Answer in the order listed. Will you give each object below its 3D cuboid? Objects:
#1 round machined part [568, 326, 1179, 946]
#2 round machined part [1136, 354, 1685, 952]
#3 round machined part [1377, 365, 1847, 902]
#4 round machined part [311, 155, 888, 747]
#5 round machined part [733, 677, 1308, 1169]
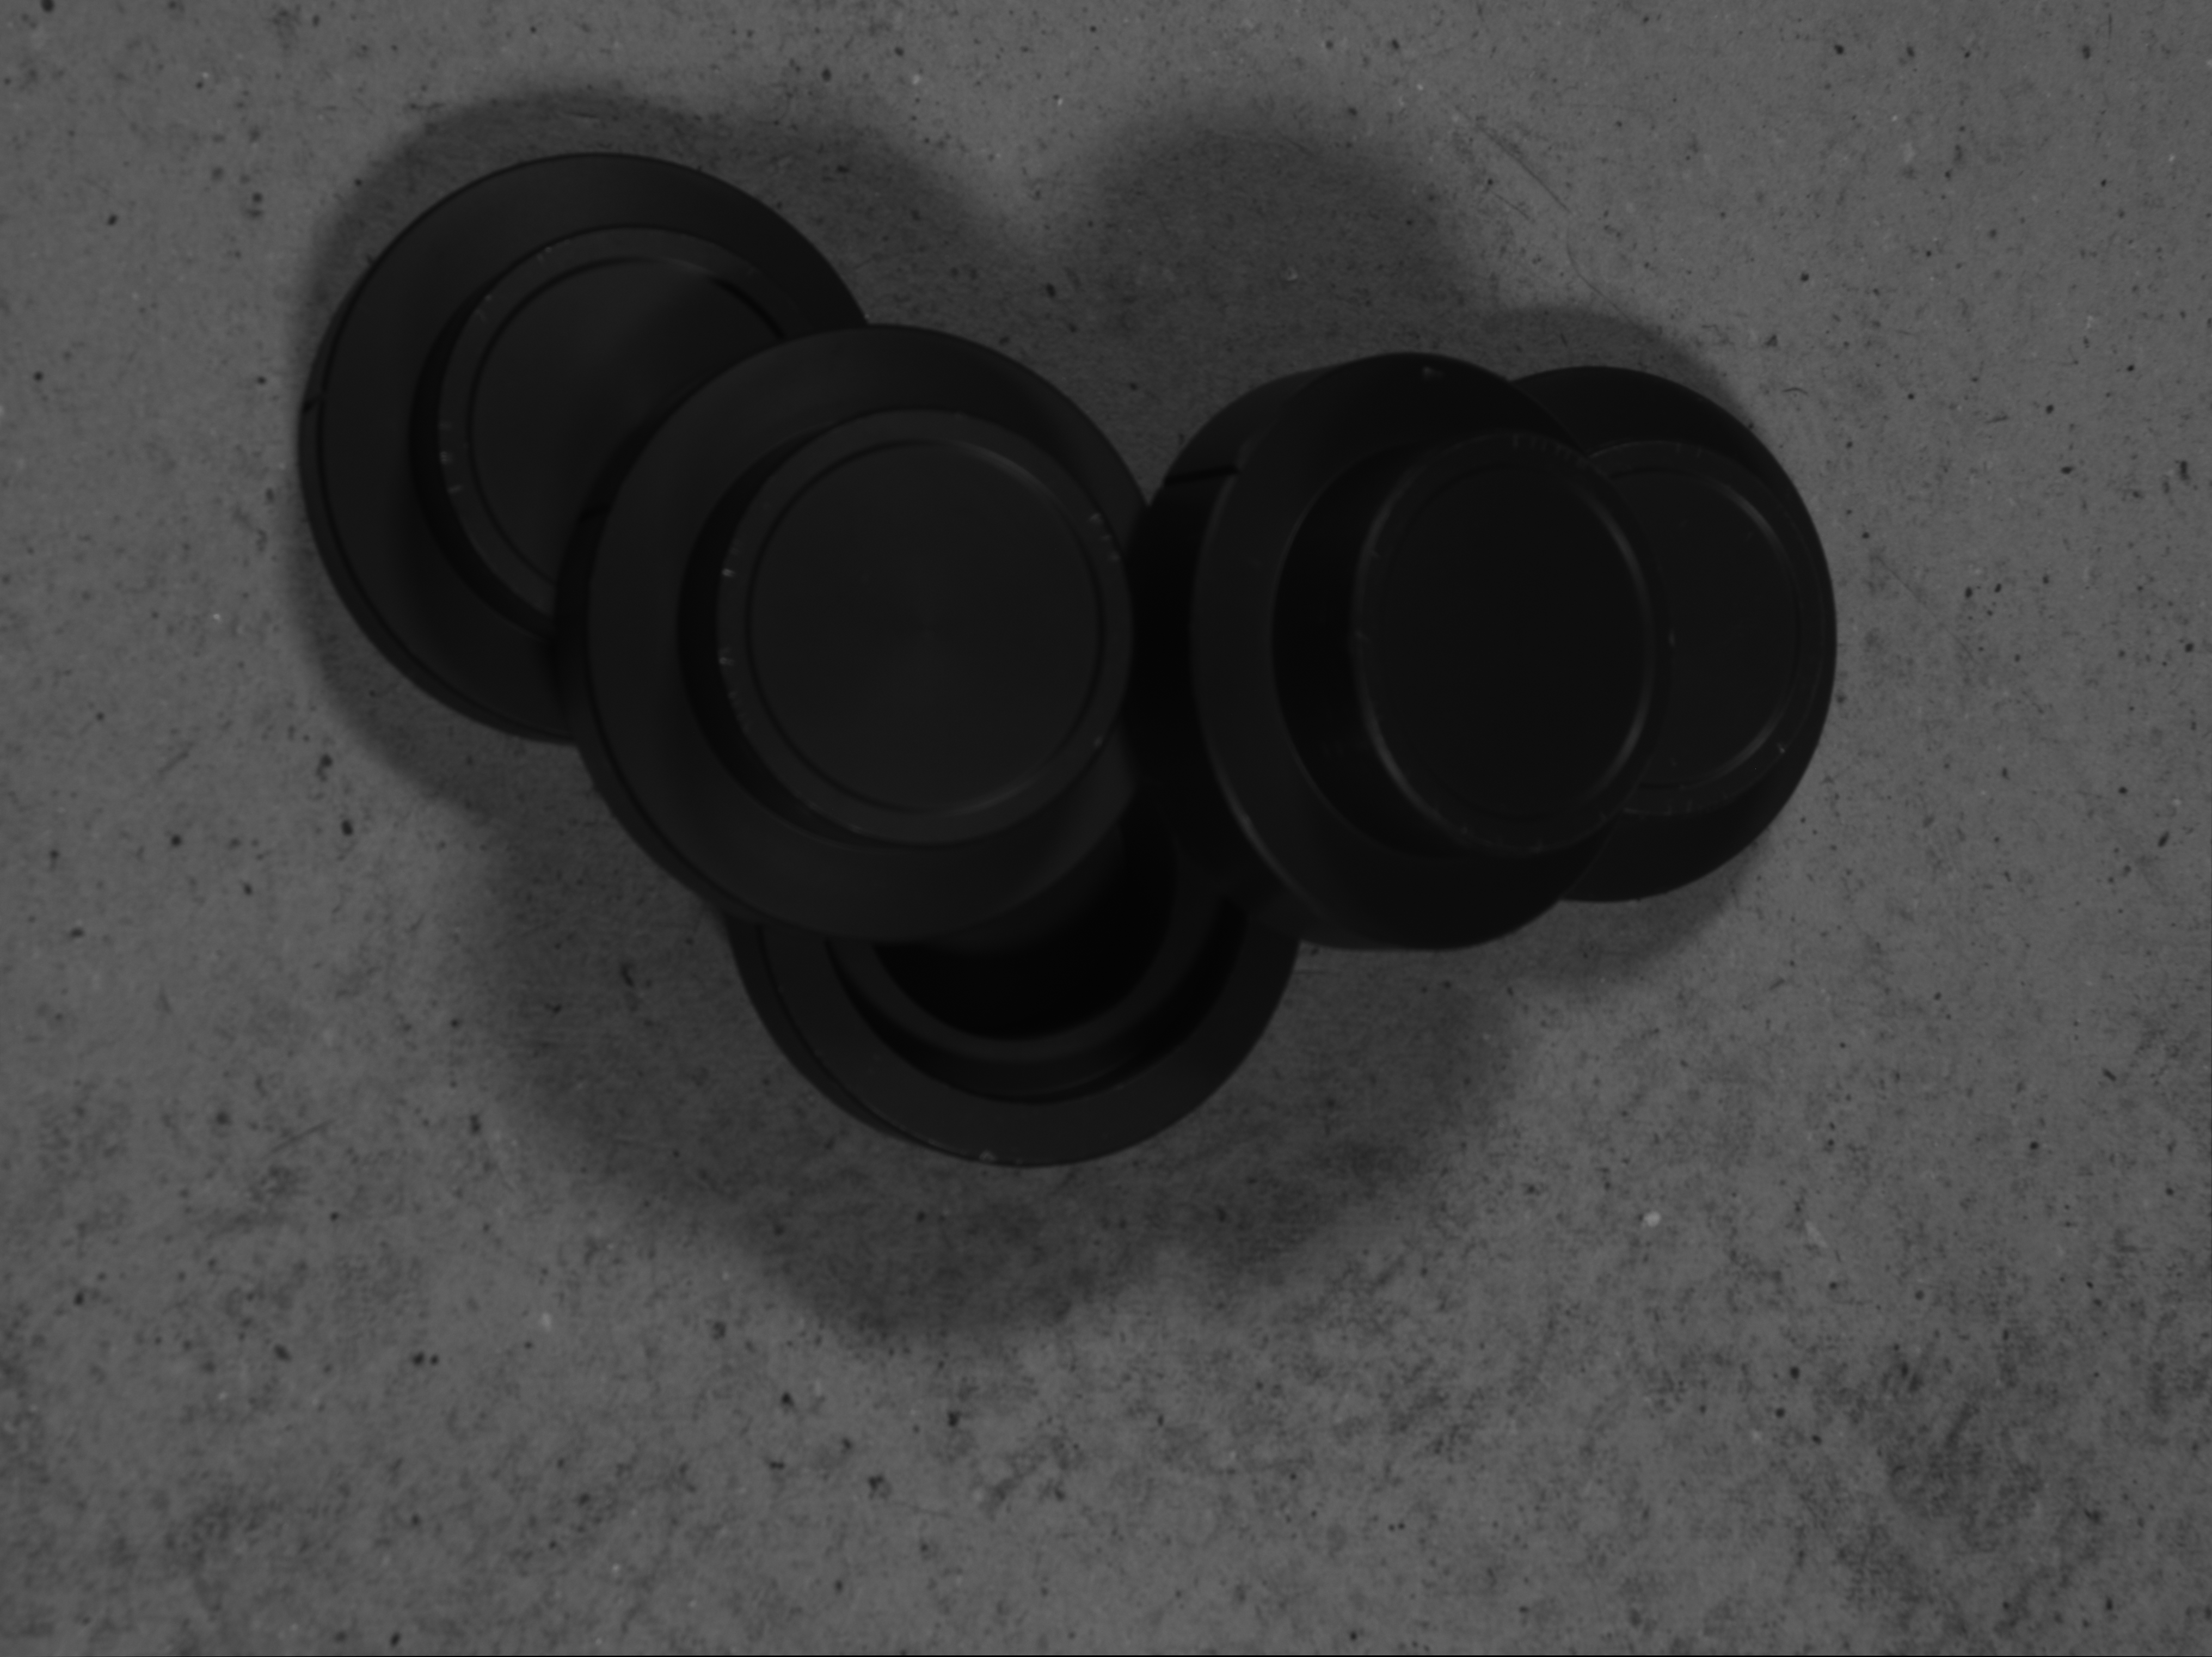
[{"bbox_3d":[-0.032,-0.030,0.578,0.098,0.042,0.098,0,90,-20],"label":"round machined part"},{"bbox_3d":[0.056,-0.029,0.599,0.098,0.042,0.098,1,88,-33],"label":"round machined part"},{"bbox_3d":[0.093,-0.036,0.668,0.098,0.042,0.098,0,90,-20],"label":"round machined part"},{"bbox_3d":[-0.079,-0.063,0.605,0.098,0.042,0.098,0,90,-20],"label":"round machined part"},{"bbox_3d":[-0.017,0.008,0.628,0.098,0.042,0.098,0,90,-20],"label":"round machined part"}]
